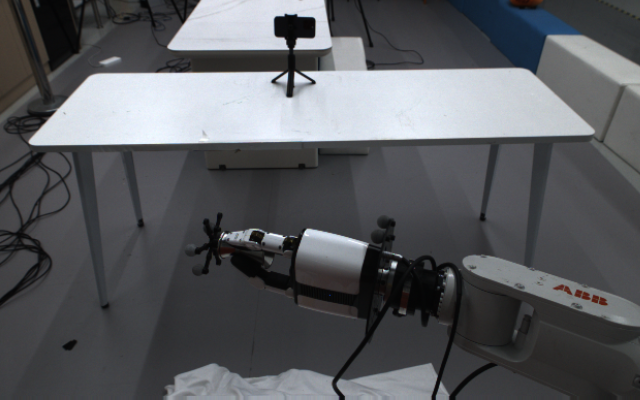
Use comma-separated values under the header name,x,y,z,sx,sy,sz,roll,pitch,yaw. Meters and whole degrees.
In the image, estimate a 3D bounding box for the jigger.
name,x,y,z,sx,sy,sz,roll,pitch,yaw
jigger,-0.093,0.061,0.655,0.071,0.043,0.043,8,35,15
